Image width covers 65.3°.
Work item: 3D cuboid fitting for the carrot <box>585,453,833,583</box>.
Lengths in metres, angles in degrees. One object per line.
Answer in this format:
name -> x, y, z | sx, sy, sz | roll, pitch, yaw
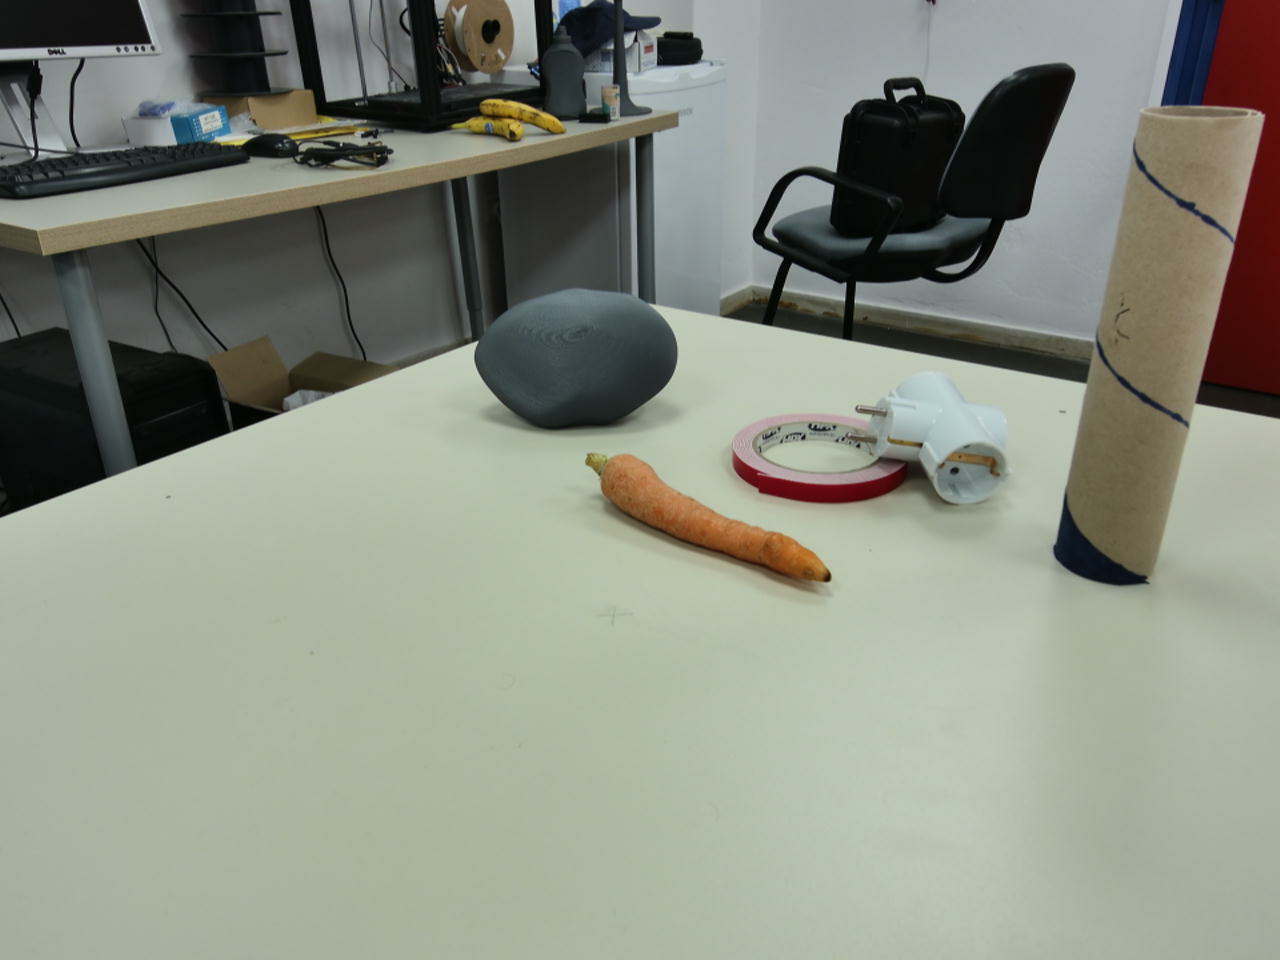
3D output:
carrot -> 0.031, 0.018, 0.545 | 0.030, 0.032, 0.173 | -22, 32, -39
